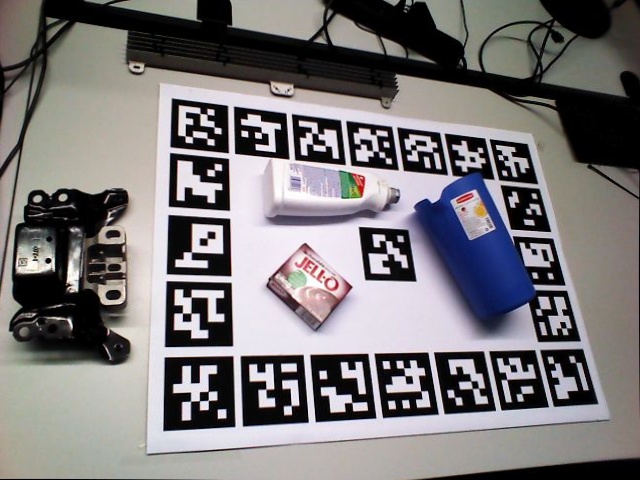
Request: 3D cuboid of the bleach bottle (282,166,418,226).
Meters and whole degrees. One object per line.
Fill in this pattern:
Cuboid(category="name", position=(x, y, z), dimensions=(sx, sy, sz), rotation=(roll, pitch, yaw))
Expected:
Cuboid(category="bleach bottle", position=(0.060, -0.073, 0.905), dimensions=(0.250, 0.068, 0.102), rotation=(1, 73, -21))

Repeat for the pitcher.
Cuboid(category="pitcher", position=(0.318, 0.036, 0.932), dimensions=(0.188, 0.134, 0.242), rotation=(-12, 76, -59))

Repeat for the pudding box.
Cuboid(category="pudding box", position=(0.011, 0.088, 0.831), dimensions=(0.114, 0.039, 0.089), rotation=(46, 56, 1))
